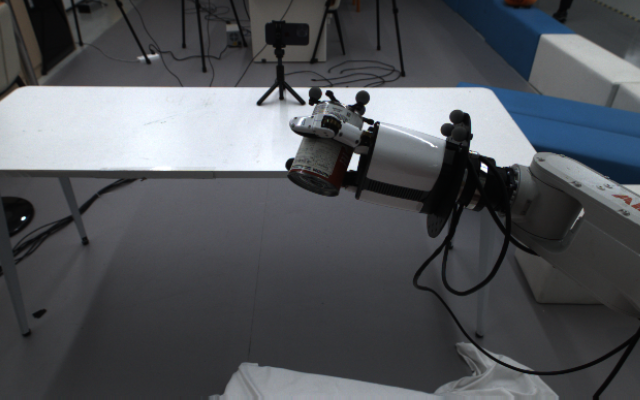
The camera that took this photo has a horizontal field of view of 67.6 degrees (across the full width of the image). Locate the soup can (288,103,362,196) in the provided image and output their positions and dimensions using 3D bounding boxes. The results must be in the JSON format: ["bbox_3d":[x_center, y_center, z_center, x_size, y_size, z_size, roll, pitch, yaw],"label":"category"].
[{"bbox_3d":[0.009,-0.064,0.608,0.067,0.067,0.101,15,75,18],"label":"soup can"}]
